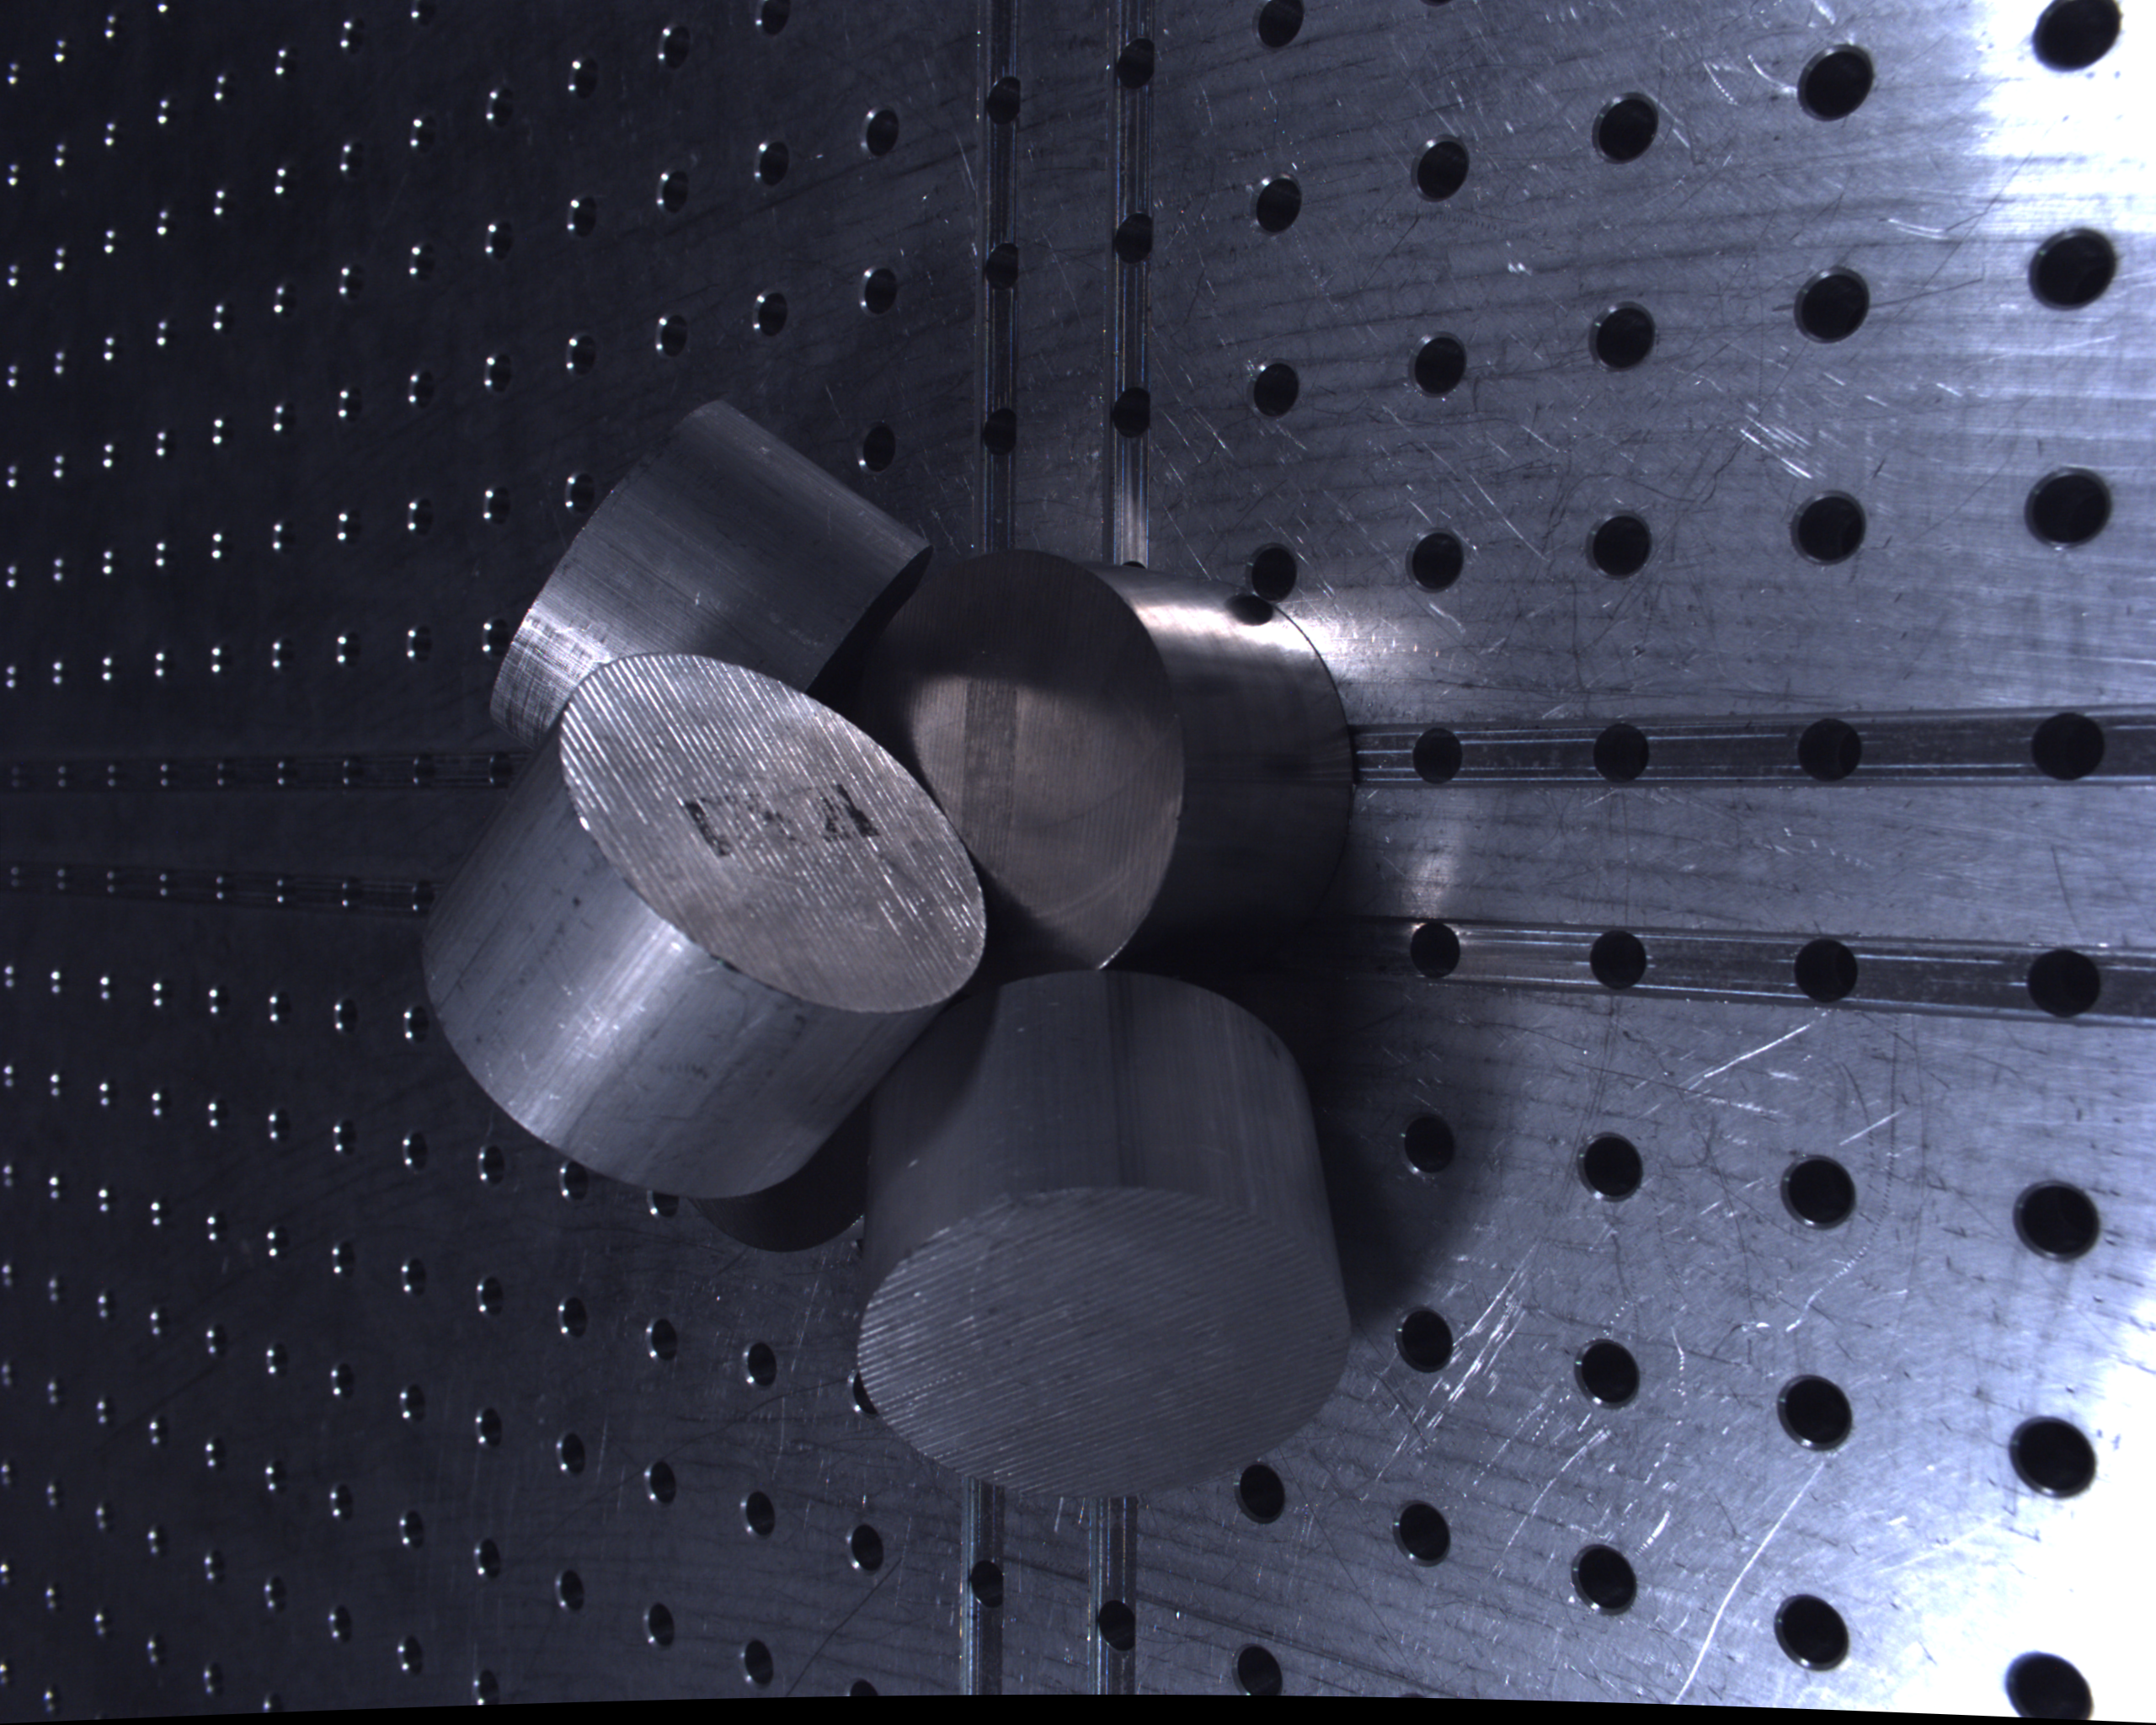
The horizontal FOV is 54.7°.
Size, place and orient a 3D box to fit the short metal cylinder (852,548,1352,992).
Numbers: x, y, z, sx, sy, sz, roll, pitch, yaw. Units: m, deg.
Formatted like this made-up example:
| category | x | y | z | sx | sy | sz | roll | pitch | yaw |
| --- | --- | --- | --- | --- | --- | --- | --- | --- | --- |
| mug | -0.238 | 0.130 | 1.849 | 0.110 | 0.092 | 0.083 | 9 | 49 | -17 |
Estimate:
| category | x | y | z | sx | sy | sz | roll | pitch | yaw |
| --- | --- | --- | --- | --- | --- | --- | --- | --- | --- |
| short metal cylinder | 0.003 | -0.016 | 0.388 | 0.080 | 0.050 | 0.079 | 0 | 90 | 39 |

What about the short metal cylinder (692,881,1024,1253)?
| category | x | y | z | sx | sy | sz | roll | pitch | yaw |
| --- | --- | --- | --- | --- | --- | --- | --- | --- | --- |
| short metal cylinder | -0.045 | 0.036 | 0.427 | 0.080 | 0.050 | 0.079 | 0 | 90 | 39 |

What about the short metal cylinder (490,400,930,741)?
| category | x | y | z | sx | sy | sz | roll | pitch | yaw |
| --- | --- | --- | --- | --- | --- | --- | --- | --- | --- |
| short metal cylinder | -0.073 | -0.046 | 0.422 | 0.050 | 0.080 | 0.080 | 35 | 116 | -3 |

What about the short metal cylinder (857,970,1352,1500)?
| category | x | y | z | sx | sy | sz | roll | pitch | yaw |
| --- | --- | --- | --- | --- | --- | --- | --- | --- | --- |
| short metal cylinder | 0.004 | 0.065 | 0.359 | 0.080 | 0.080 | 0.050 | -48 | 26 | 29 |

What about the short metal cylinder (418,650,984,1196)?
| category | x | y | z | sx | sy | sz | roll | pitch | yaw |
| --- | --- | --- | --- | --- | --- | --- | --- | --- | --- |
| short metal cylinder | -0.064 | 0.010 | 0.357 | 0.050 | 0.081 | 0.080 | -49 | 62 | 29 |
